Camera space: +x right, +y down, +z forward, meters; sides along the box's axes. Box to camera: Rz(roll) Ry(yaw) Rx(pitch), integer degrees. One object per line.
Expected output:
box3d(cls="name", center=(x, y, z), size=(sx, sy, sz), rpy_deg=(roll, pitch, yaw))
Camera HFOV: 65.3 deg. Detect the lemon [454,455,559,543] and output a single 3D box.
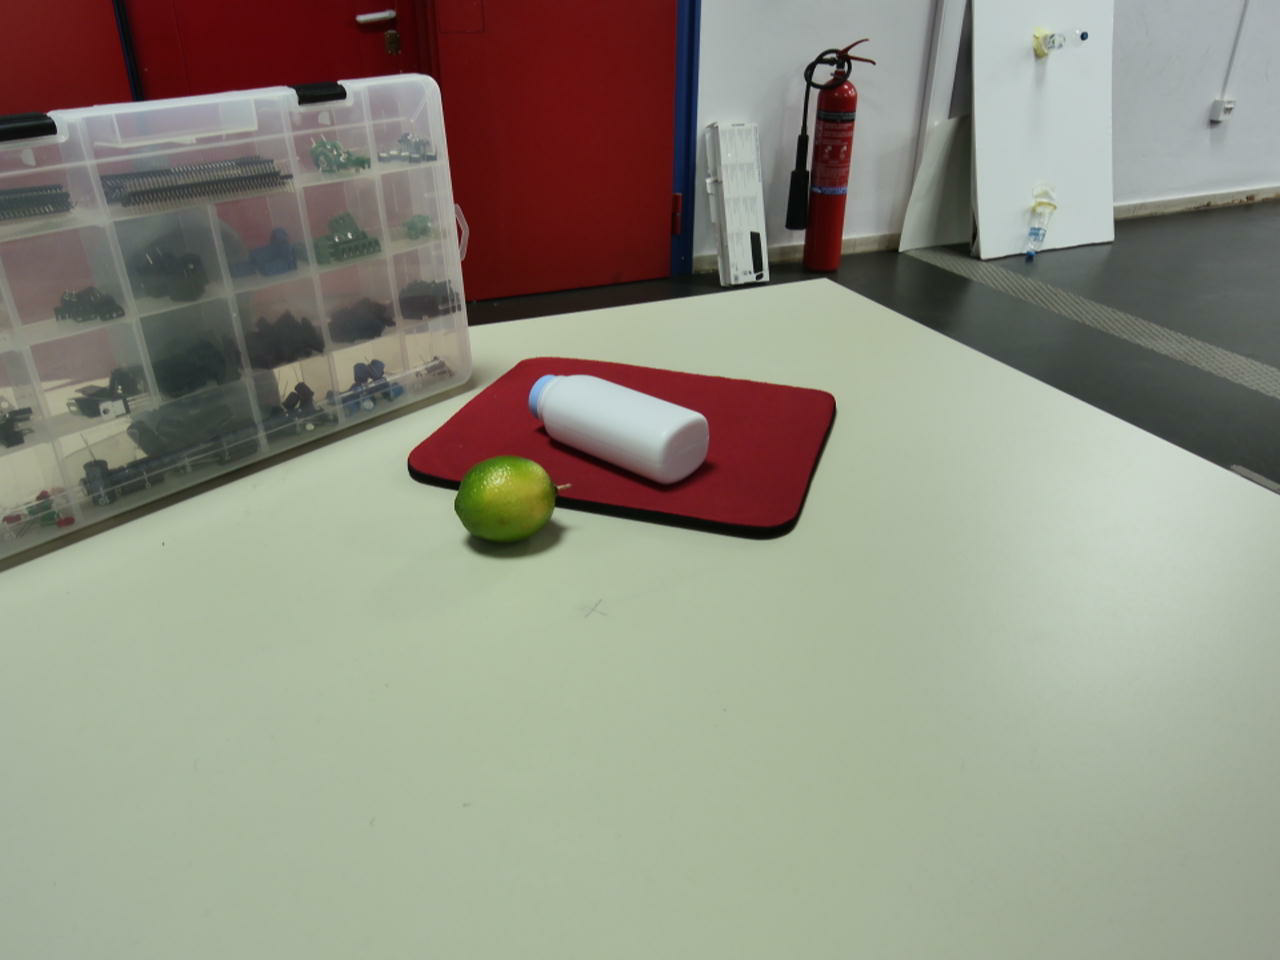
box3d(cls="lemon", center=(-0.078, 0.011, 0.583), size=(0.055, 0.050, 0.054), rpy_deg=(12, 29, 23))
